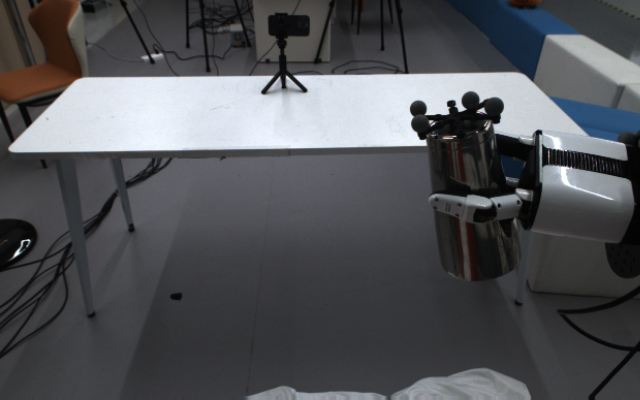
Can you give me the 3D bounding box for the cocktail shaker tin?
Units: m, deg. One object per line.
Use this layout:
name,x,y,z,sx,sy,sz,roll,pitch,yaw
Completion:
cocktail shaker tin,0.166,-0.006,0.532,0.093,0.170,0.093,-15,29,8
